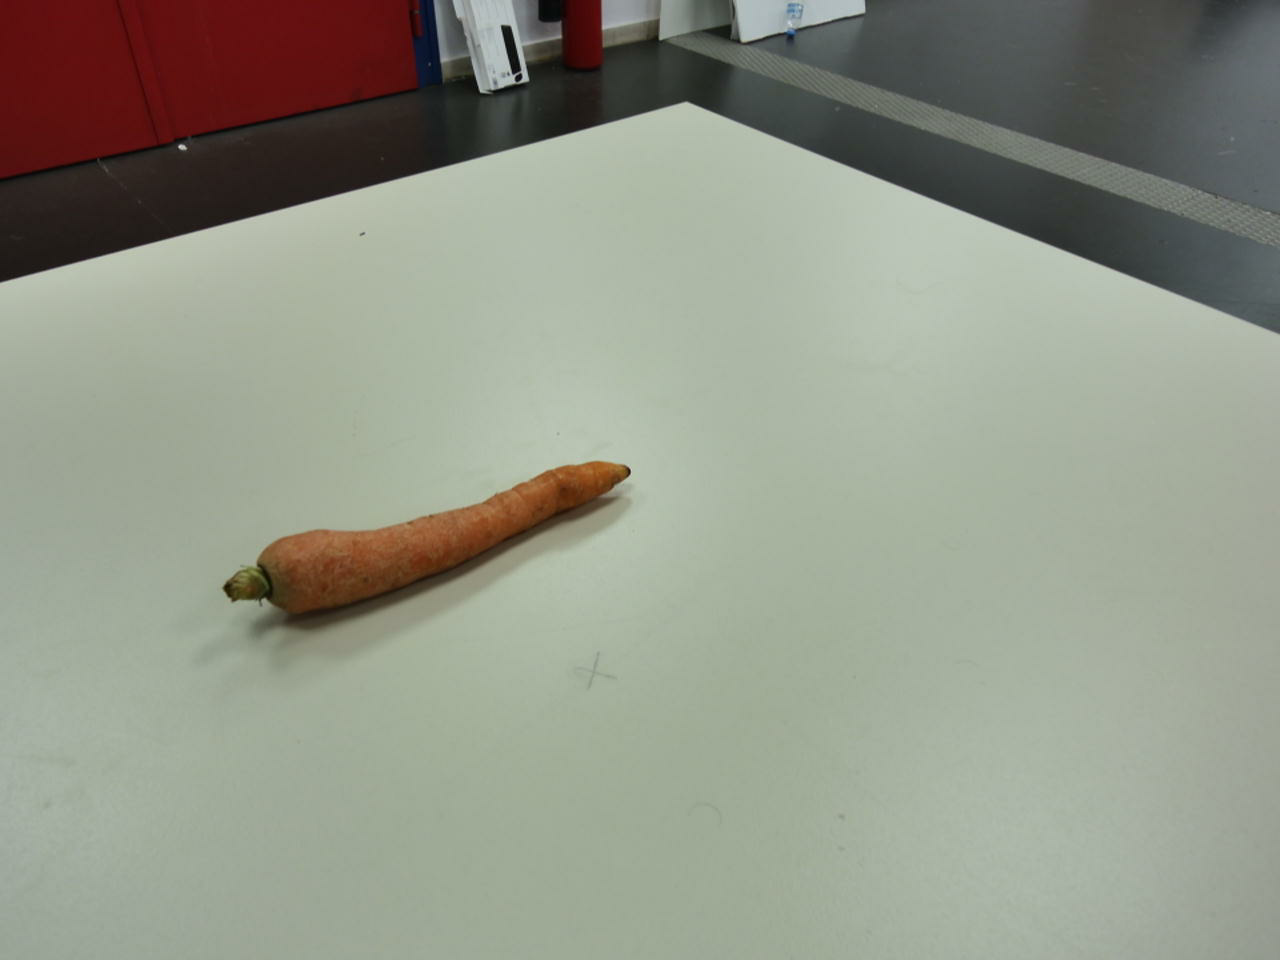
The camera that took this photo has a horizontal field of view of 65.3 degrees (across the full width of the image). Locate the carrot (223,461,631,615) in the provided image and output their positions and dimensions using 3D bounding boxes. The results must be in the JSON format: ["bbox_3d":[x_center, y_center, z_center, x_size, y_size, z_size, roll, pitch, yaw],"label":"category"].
[{"bbox_3d":[-0.076,0.018,0.400,0.173,0.032,0.030,-19,41,-25],"label":"carrot"}]
